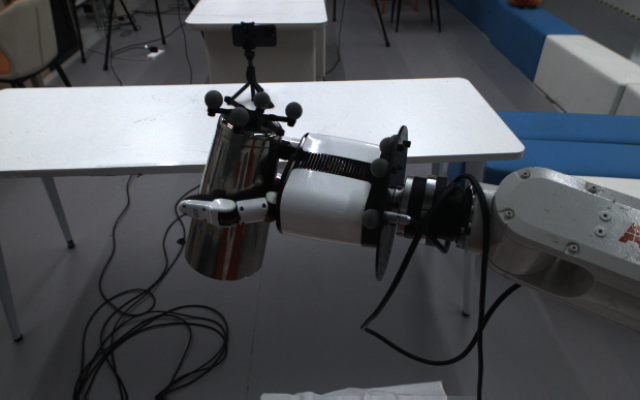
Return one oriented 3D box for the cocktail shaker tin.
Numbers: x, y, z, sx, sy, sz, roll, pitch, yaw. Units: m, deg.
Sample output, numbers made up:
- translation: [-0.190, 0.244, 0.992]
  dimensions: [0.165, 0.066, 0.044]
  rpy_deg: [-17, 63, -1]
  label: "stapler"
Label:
- translation: [-0.088, -0.008, 0.527]
  dimensions: [0.093, 0.170, 0.093]
  rpy_deg: [12, 29, -7]
  label: "cocktail shaker tin"
